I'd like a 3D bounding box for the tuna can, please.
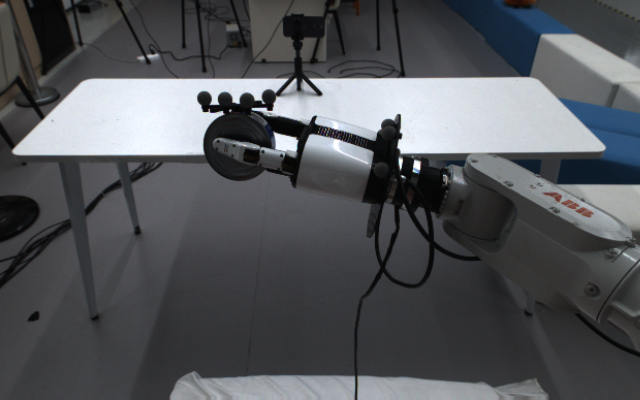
[{"bbox_3d":[-0.096,-0.069,0.608,0.085,0.085,0.034,4,18,3],"label":"tuna can"}]
